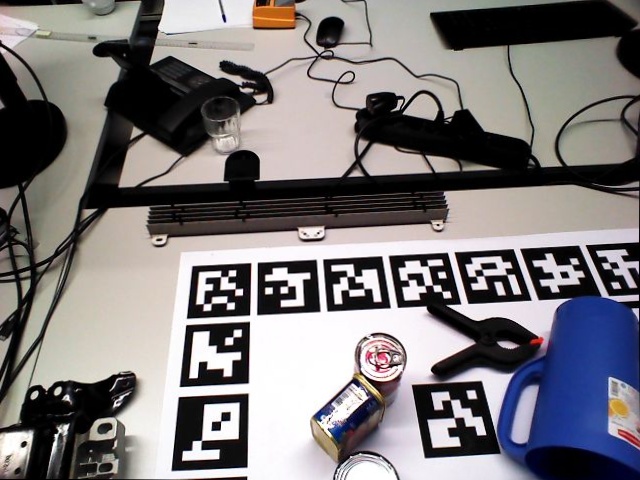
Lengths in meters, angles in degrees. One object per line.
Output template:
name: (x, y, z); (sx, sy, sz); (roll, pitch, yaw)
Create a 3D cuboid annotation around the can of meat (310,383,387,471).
can of meat: (0.036, 0.241, 0.661); (0.083, 0.102, 0.058); (-36, 61, -18)

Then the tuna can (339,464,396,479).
tuna can: (0.060, 0.326, 0.642); (0.086, 0.034, 0.085); (-1, 55, 2)

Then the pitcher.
pitcher: (0.351, 0.200, 0.657); (0.190, 0.133, 0.240); (-1, 42, 30)

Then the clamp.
clamp: (0.234, 0.155, 0.773); (0.165, 0.037, 0.121); (0, 49, -1)

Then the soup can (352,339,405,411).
soup can: (0.079, 0.187, 0.706); (0.068, 0.102, 0.067); (-3, 55, 4)
